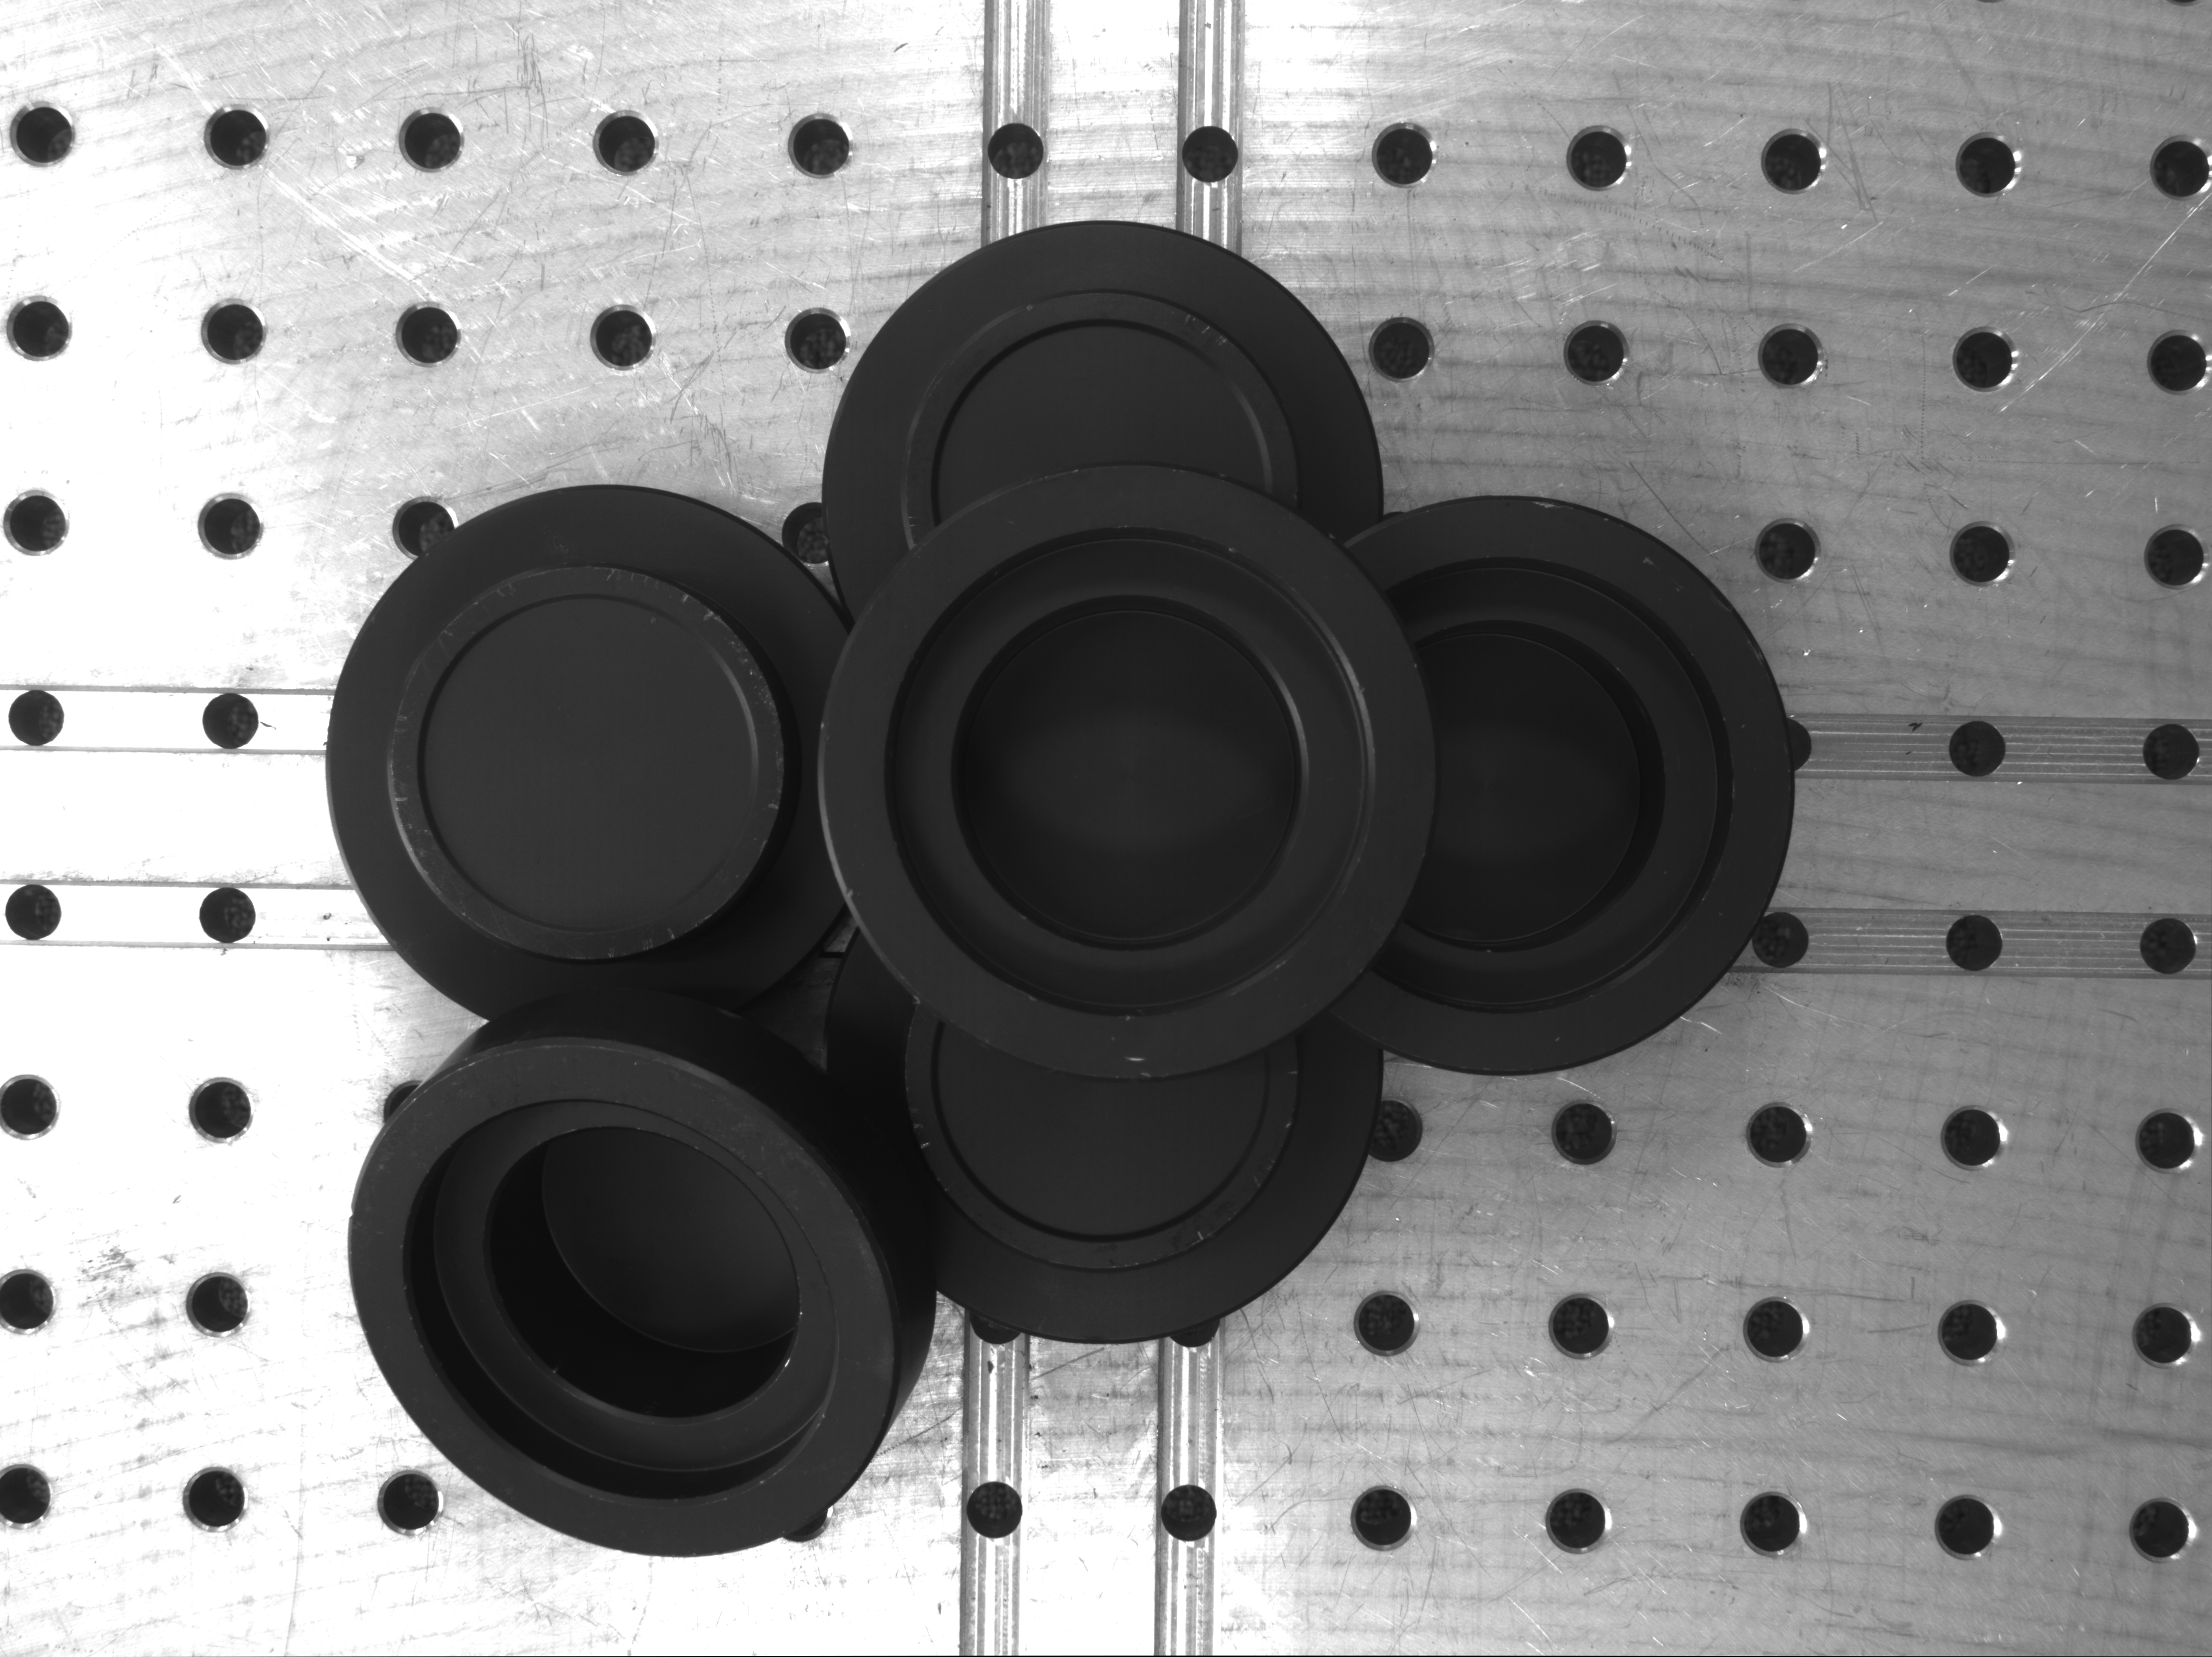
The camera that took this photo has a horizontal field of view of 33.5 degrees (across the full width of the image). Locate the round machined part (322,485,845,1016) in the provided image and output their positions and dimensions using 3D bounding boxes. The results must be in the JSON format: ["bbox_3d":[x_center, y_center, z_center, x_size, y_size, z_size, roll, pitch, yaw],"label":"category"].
[{"bbox_3d":[-0.088,-0.011,0.640,0.098,0.042,0.098,0,90,0],"label":"round machined part"}]

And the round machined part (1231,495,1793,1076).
[{"bbox_3d":[0.067,-0.007,0.639,0.098,0.042,0.098,0,90,0],"label":"round machined part"}]

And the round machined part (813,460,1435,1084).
[{"bbox_3d":[0.003,-0.009,0.597,0.098,0.042,0.098,0,90,0],"label":"round machined part"}]

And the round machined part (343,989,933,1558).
[{"bbox_3d":[-0.076,0.072,0.627,0.098,0.042,0.098,5,113,13],"label":"round machined part"}]

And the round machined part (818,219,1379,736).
[{"bbox_3d":[-0.001,-0.057,0.640,0.098,0.042,0.098,0,90,0],"label":"round machined part"}]

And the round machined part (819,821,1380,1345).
[{"bbox_3d":[-0.001,0.041,0.639,0.098,0.042,0.098,0,90,0],"label":"round machined part"}]
